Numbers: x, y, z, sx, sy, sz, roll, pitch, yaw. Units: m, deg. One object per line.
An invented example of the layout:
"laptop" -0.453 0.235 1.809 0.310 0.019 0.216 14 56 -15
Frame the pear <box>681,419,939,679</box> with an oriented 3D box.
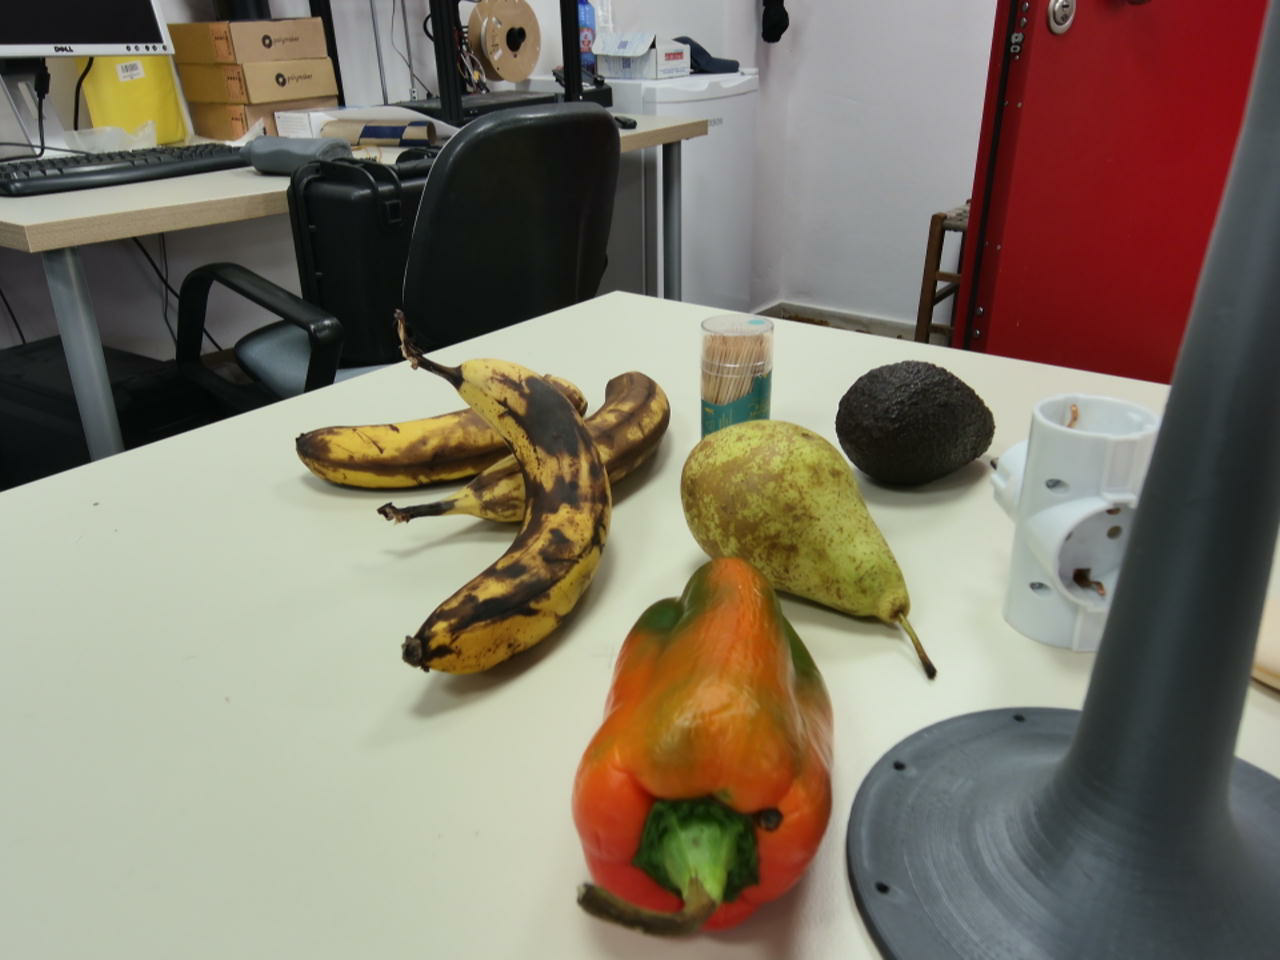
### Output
"pear" 0.076 0.016 0.426 0.128 0.075 0.071 14 26 28
